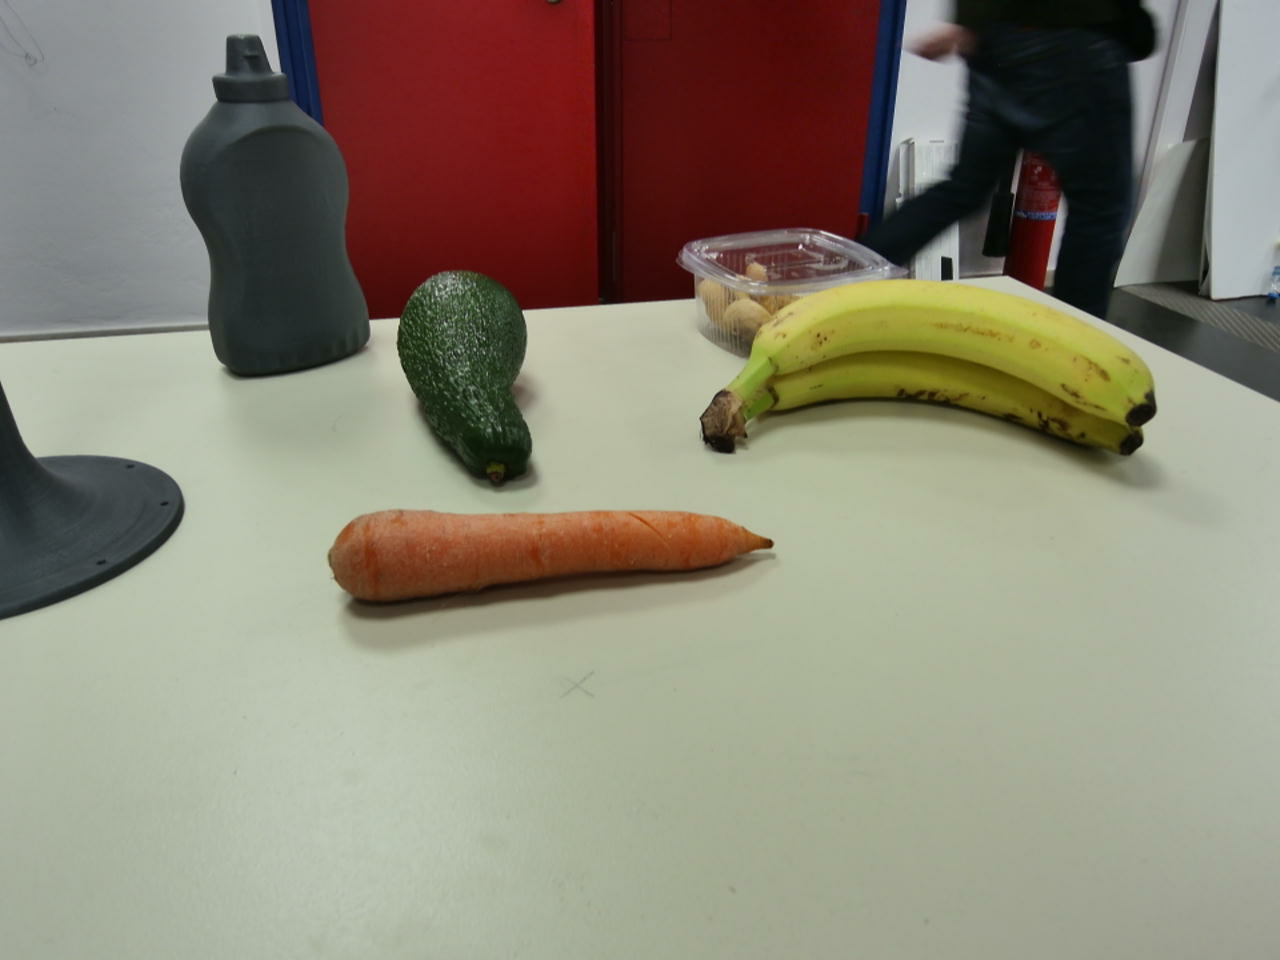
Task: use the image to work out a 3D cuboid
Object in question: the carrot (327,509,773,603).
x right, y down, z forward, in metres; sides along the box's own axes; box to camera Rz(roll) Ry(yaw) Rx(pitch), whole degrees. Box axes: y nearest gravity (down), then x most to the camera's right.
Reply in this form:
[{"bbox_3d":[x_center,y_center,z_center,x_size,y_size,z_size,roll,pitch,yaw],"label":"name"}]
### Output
[{"bbox_3d":[-0.034,0.026,0.438,0.196,0.041,0.039,-6,25,-12],"label":"carrot"}]
